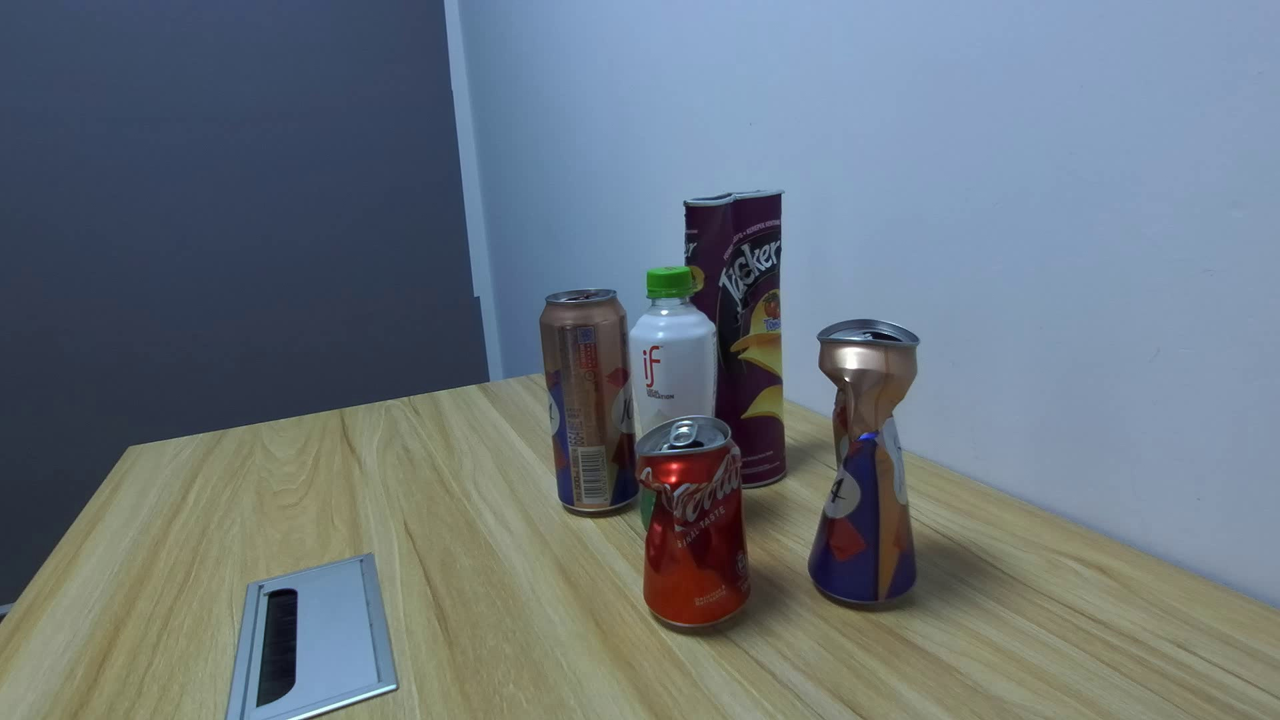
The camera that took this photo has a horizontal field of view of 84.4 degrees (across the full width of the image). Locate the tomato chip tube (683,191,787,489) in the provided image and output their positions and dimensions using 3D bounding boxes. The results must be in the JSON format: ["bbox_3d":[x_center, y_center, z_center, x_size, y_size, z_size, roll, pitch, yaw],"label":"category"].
[{"bbox_3d":[0.080,-0.015,0.576,0.090,0.236,0.078,-2,16,-1],"label":"tomato chip tube"}]

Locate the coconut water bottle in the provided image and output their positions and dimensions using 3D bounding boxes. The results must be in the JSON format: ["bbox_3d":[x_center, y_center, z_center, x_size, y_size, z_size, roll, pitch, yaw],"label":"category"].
[{"bbox_3d":[0.025,0.031,0.500,0.063,0.188,0.063,-2,13,1],"label":"coconut water bottle"}]

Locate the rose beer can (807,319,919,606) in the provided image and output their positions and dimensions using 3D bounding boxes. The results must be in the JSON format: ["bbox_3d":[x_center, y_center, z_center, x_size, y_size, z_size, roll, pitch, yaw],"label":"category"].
[{"bbox_3d":[0.131,0.061,0.417,0.068,0.162,0.073,-10,18,-19],"label":"rose beer can"}]

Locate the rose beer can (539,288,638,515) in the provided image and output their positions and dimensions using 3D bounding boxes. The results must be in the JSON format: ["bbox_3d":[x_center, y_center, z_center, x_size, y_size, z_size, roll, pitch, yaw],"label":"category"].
[{"bbox_3d":[-0.038,0.034,0.555,0.068,0.169,0.068,-5,14,1],"label":"rose beer can"}]
